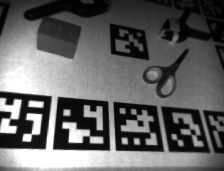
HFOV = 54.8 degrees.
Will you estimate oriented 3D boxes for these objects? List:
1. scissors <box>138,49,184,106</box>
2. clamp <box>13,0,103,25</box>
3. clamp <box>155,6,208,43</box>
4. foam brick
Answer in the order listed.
[{"bbox_3d":[0.137,-0.040,0.538,0.088,0.016,0.204,44,57,-3],"label":"scissors"},{"bbox_3d":[-0.122,-0.202,0.524,0.204,0.036,0.164,2,60,-19],"label":"clamp"},{"bbox_3d":[0.191,-0.165,0.619,0.166,0.036,0.121,-23,80,-27],"label":"clamp"},{"bbox_3d":[-0.131,-0.084,0.454,0.078,0.051,0.052,10,62,-9],"label":"foam brick"}]
